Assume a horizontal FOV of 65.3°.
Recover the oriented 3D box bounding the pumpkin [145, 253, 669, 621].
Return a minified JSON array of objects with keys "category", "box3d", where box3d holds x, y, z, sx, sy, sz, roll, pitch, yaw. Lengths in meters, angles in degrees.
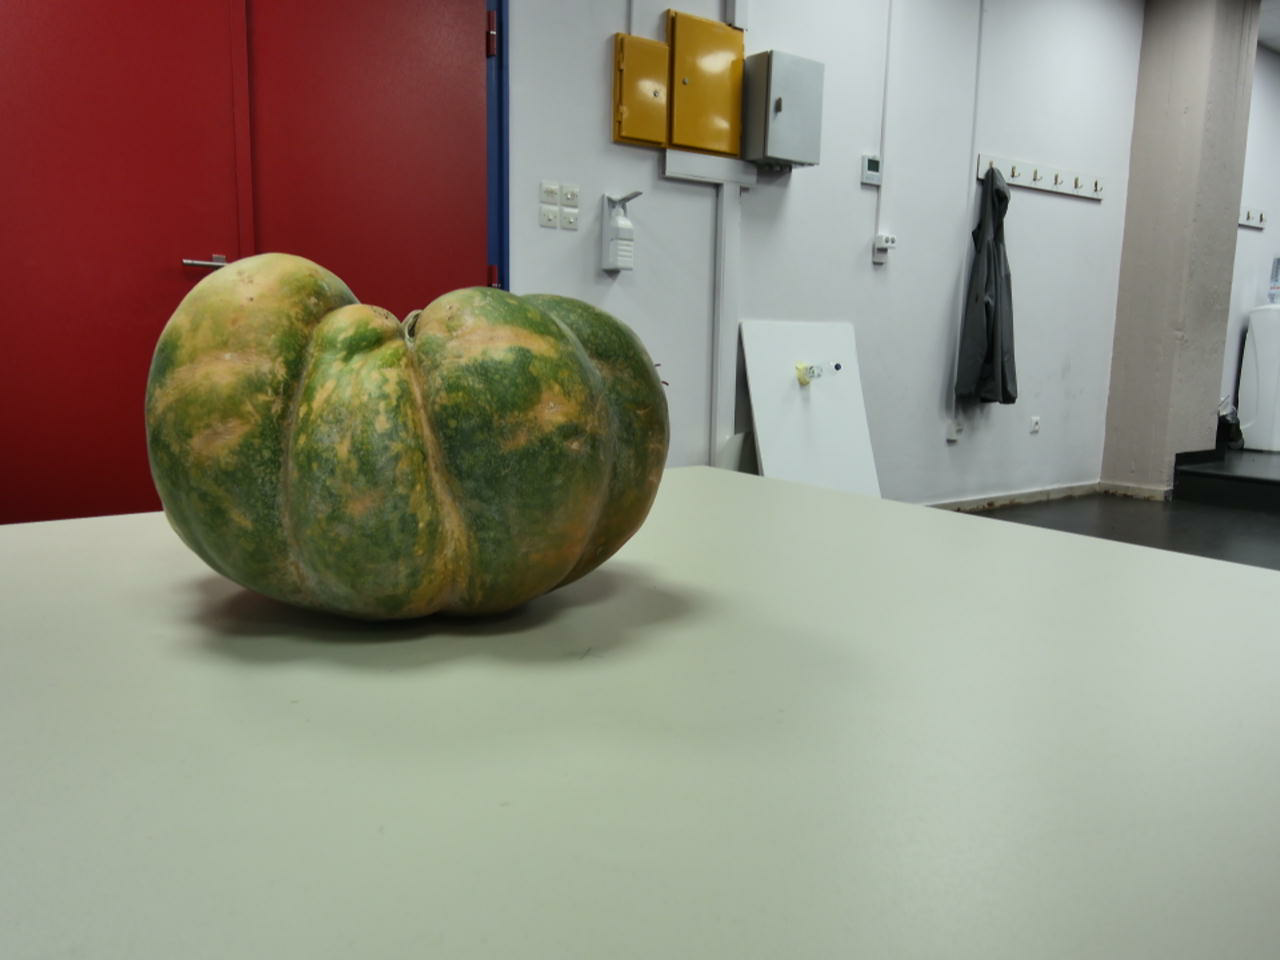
[{"category":"pumpkin","box3d":[-0.122,-0.022,0.516,0.270,0.173,0.237,0,7,0]}]
